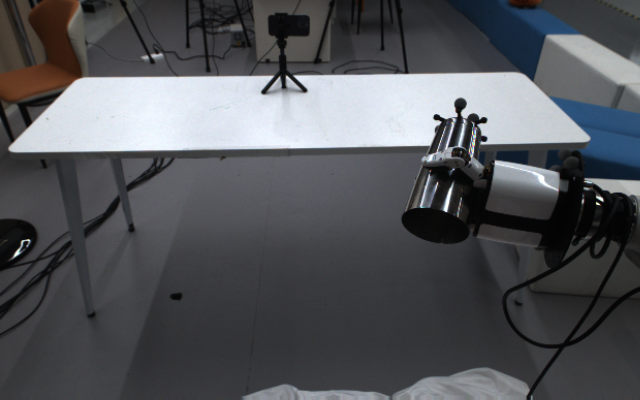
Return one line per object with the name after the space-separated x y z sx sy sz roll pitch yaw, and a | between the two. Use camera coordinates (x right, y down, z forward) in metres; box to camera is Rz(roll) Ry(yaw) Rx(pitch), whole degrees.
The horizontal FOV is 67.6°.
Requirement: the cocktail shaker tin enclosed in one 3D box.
0.181 -0.034 0.689 0.093 0.093 0.170 14 61 17 | cocktail shaker tin
